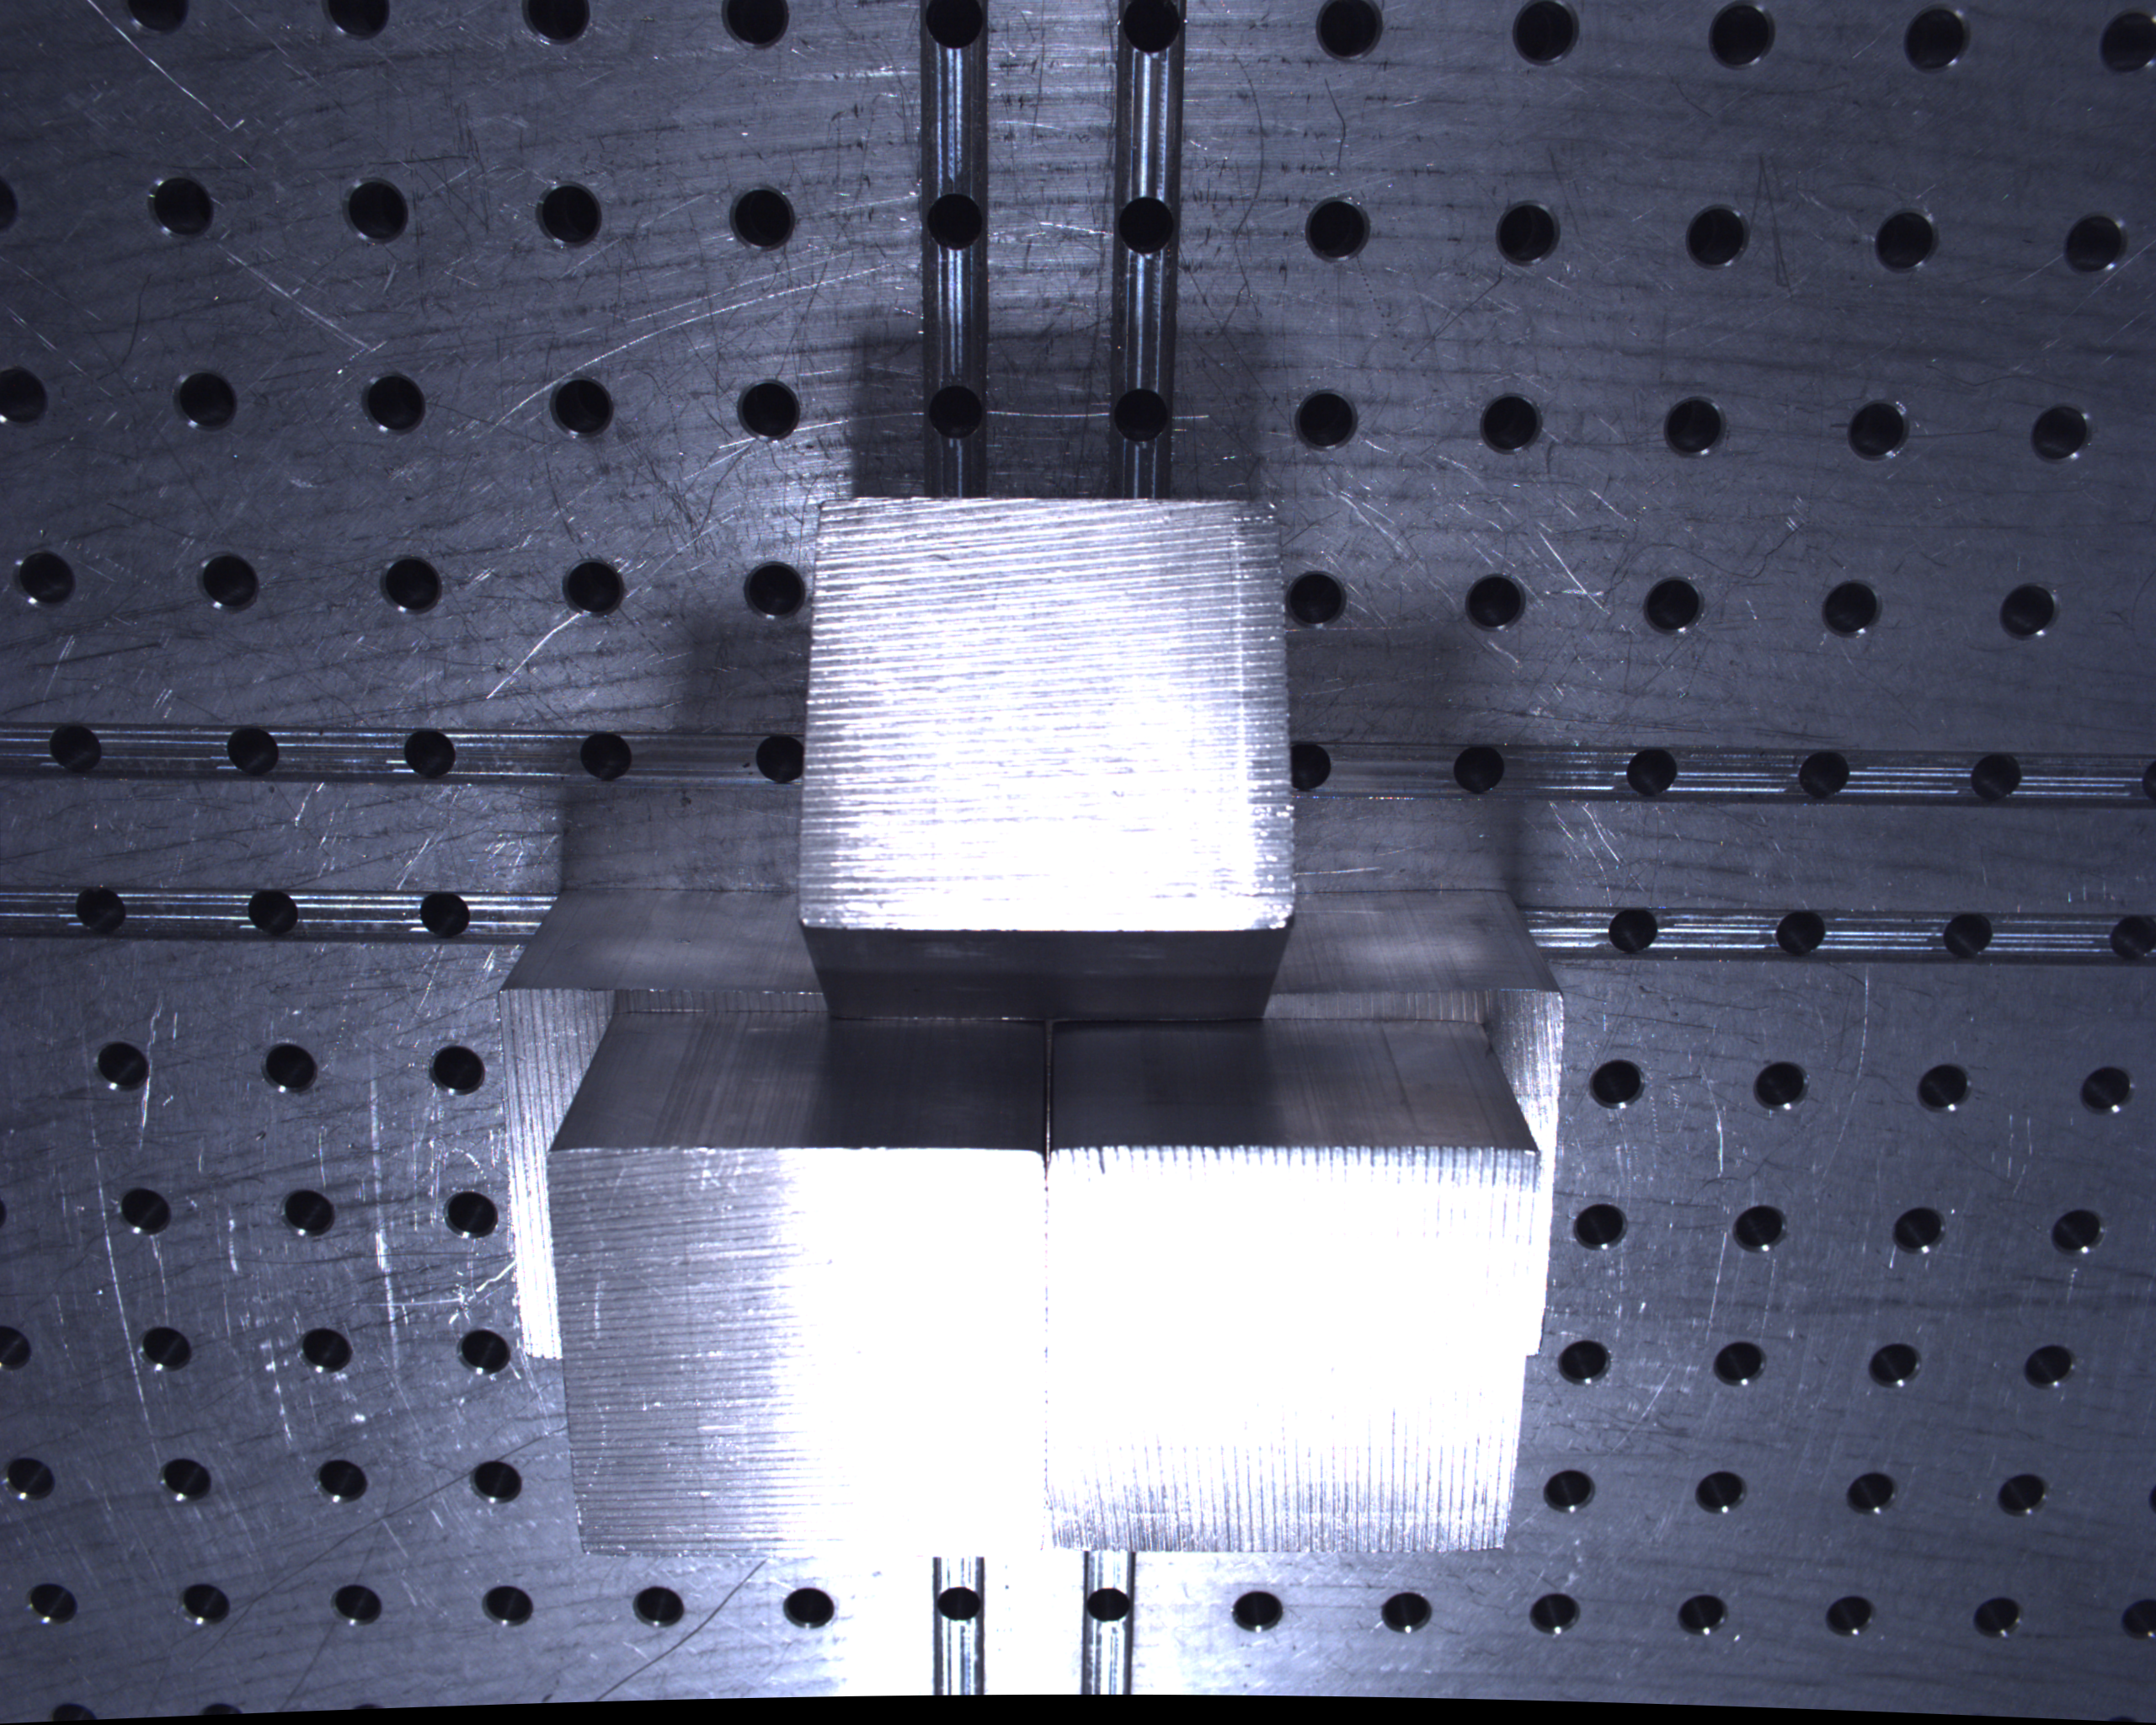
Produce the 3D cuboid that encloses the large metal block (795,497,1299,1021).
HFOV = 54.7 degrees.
[{"bbox_3d":[-0.005,-0.017,0.372,0.081,0.050,0.080,0,68,-1],"label":"large metal block"}]

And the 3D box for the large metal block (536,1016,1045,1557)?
[{"bbox_3d":[-0.046,0.074,0.370,0.081,0.050,0.079,0,110,-1],"label":"large metal block"}]

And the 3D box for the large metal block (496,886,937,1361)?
[{"bbox_3d":[-0.067,0.052,0.419,0.081,0.050,0.079,1,110,-1],"label":"large metal block"}]

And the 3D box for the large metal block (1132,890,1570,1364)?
[{"bbox_3d":[0.050,0.052,0.419,0.081,0.050,0.079,-1,110,0],"label":"large metal block"}]

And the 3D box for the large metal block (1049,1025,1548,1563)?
[{"bbox_3d":[0.036,0.076,0.373,0.081,0.050,0.079,0,110,-1],"label":"large metal block"}]
